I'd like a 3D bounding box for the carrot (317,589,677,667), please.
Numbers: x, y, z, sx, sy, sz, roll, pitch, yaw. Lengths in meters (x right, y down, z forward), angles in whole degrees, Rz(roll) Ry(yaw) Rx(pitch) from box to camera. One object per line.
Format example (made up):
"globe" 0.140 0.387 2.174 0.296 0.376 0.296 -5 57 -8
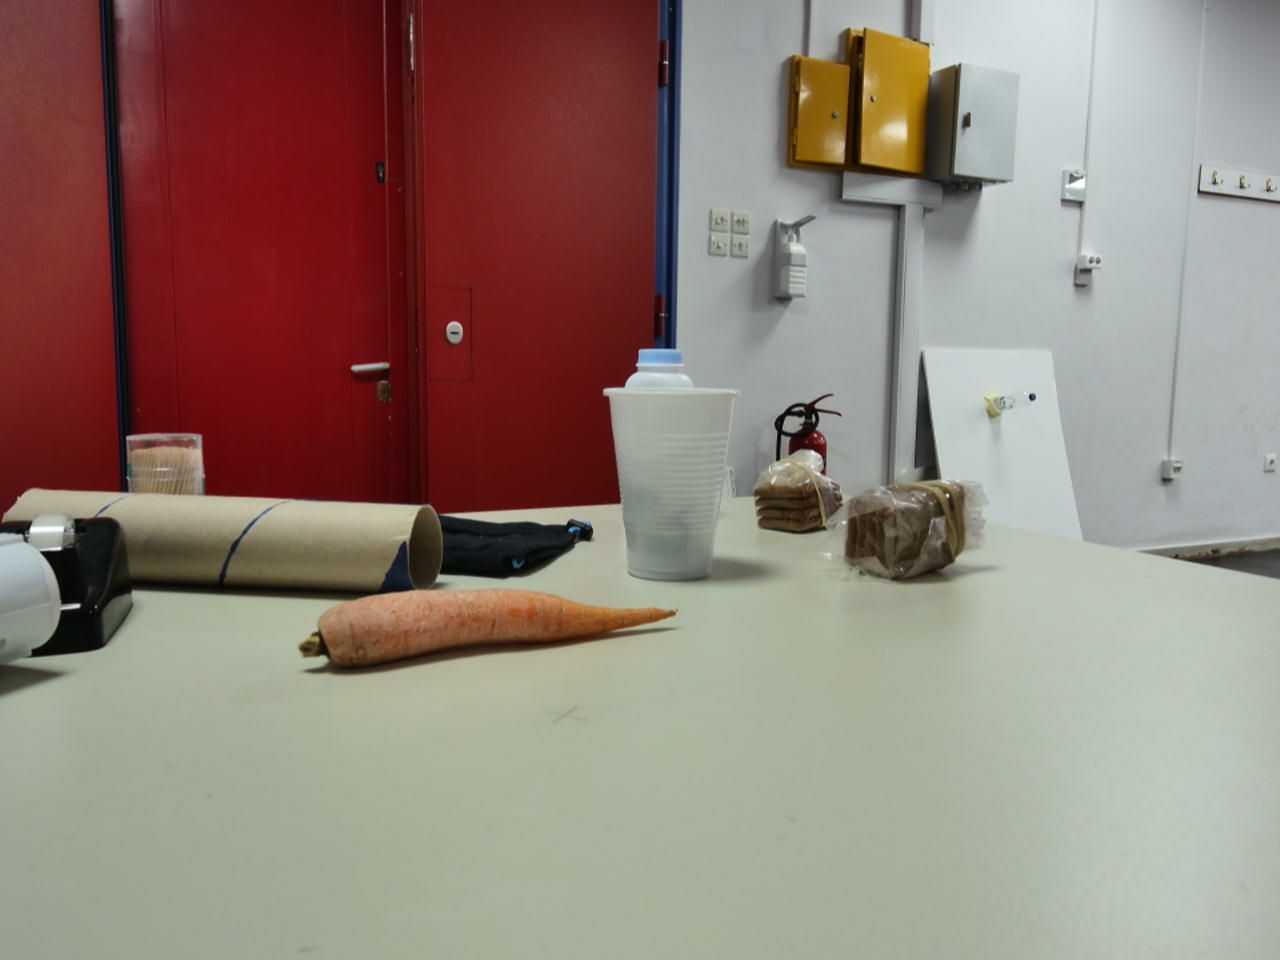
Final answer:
"carrot" -0.062 0.060 0.439 0.163 0.029 0.031 -2 5 -26
